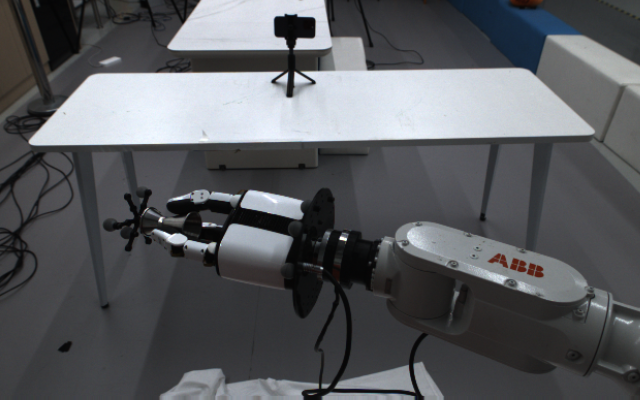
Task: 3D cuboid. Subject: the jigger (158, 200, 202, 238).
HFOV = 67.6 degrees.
[{"bbox_3d":[-0.188,0.026,0.639,0.071,0.043,0.043,5,34,18],"label":"jigger"}]
